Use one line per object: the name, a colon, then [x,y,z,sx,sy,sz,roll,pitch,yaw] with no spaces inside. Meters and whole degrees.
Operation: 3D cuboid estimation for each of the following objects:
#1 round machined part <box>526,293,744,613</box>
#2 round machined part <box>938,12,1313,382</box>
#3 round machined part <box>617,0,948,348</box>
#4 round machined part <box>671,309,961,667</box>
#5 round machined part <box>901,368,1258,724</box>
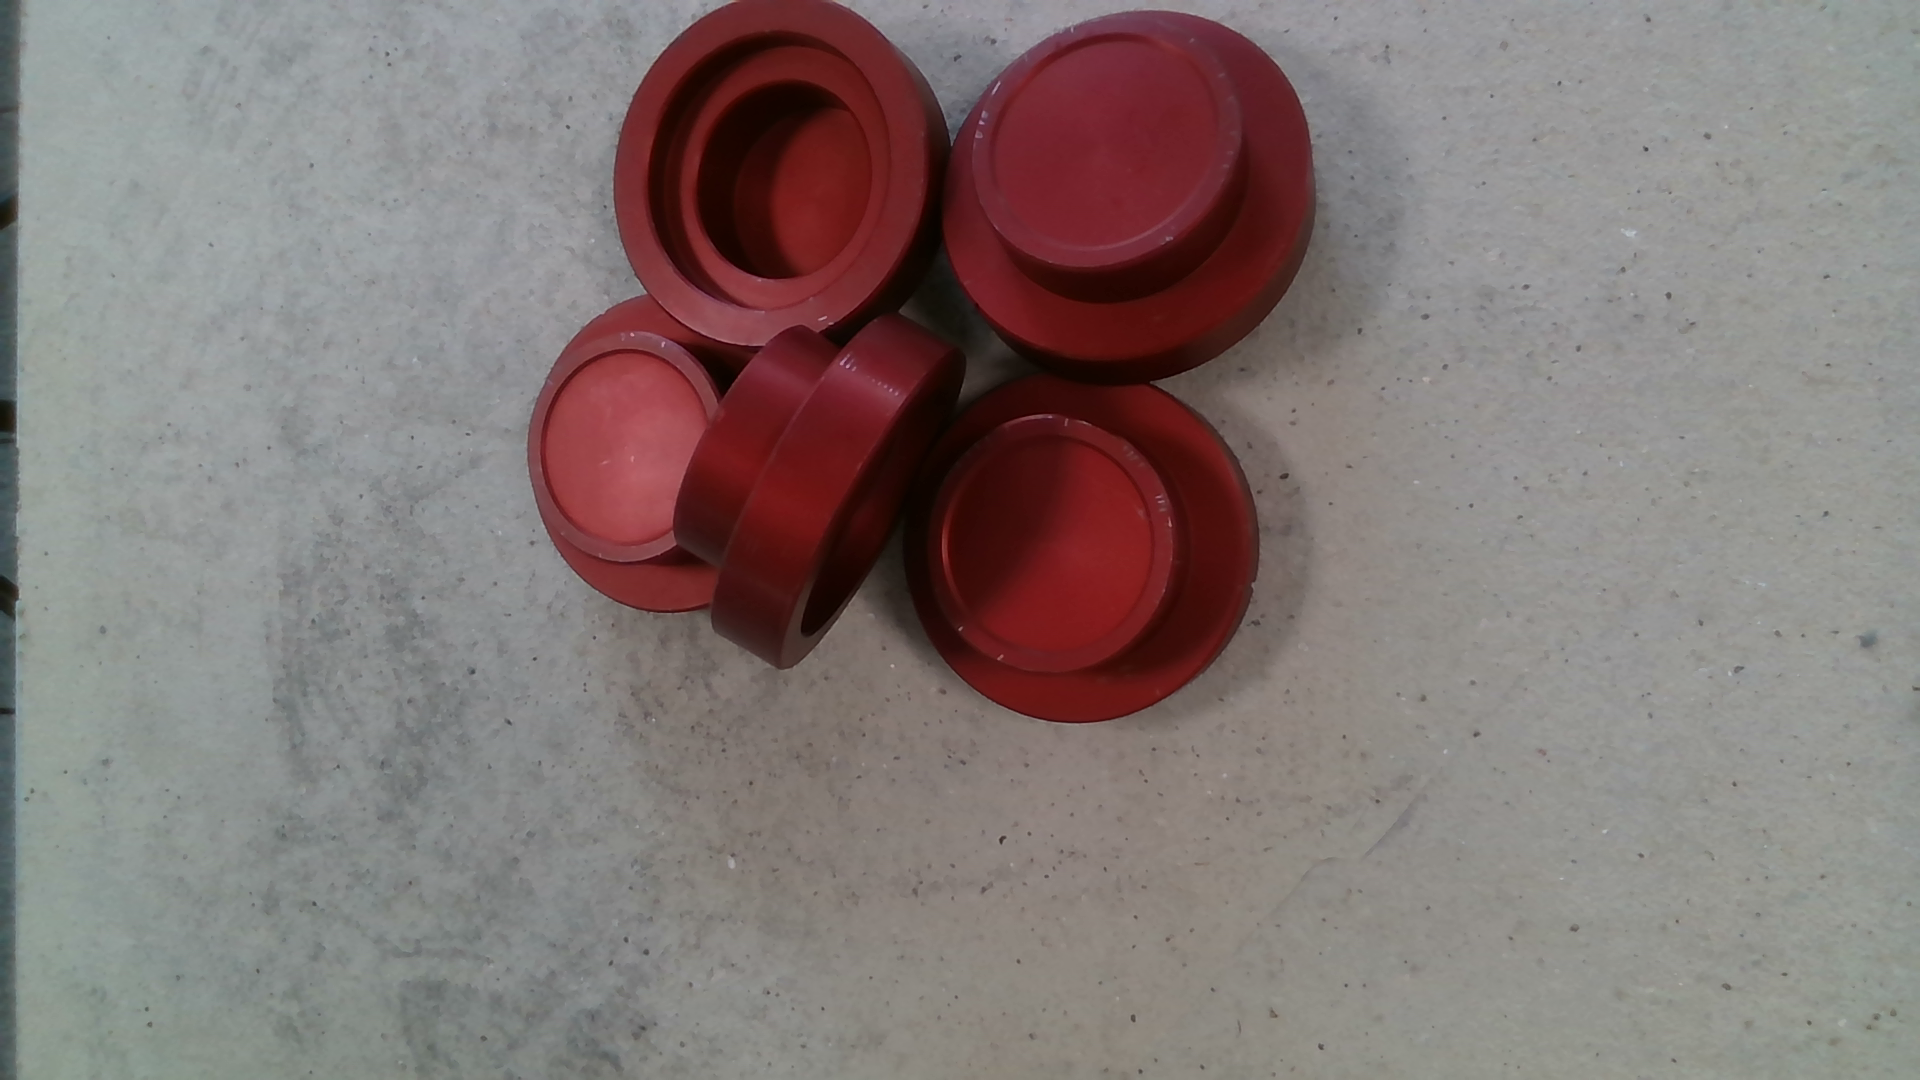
round machined part: [-0.091,-0.027,0.418,0.098,0.042,0.098,0,91,19]
round machined part: [0.040,-0.094,0.358,0.098,0.042,0.098,-4,75,17]
round machined part: [-0.047,-0.103,0.402,0.098,0.042,0.098,0,90,22]
round machined part: [-0.041,-0.018,0.367,0.042,0.098,0.098,28,100,4]
round machined part: [0.029,0.001,0.374,0.098,0.042,0.098,0,91,19]
